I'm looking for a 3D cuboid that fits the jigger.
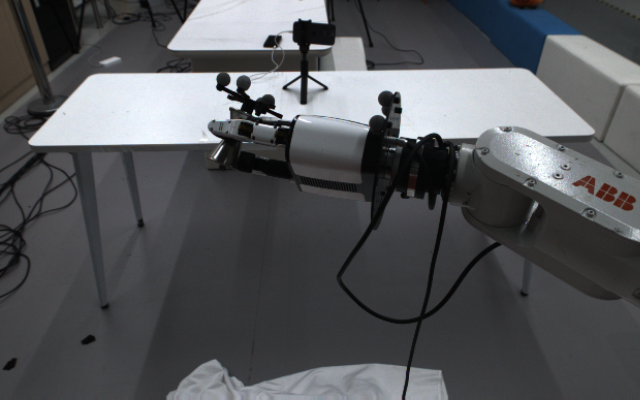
[{"bbox_3d":[-0.107,-0.075,0.592,0.043,0.071,0.043,24,-2,1],"label":"jigger"}]
